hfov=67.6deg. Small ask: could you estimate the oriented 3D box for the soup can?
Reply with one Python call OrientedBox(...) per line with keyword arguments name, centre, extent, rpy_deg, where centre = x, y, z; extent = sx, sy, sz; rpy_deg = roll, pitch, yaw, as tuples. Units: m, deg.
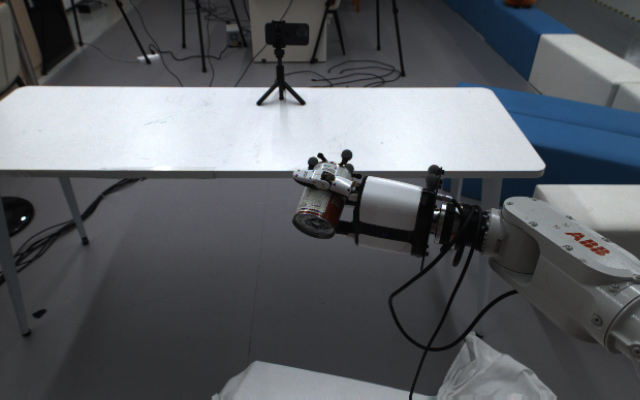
OrientedBox(name="soup can", centre=(0.005, -0.002, 0.742), extent=(0.067, 0.067, 0.101), rpy_deg=(12, 59, 14))
